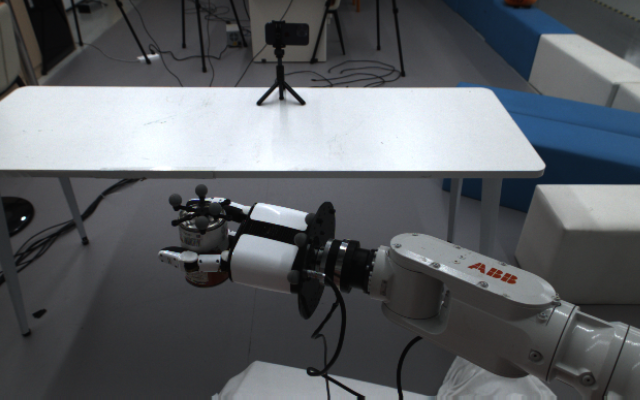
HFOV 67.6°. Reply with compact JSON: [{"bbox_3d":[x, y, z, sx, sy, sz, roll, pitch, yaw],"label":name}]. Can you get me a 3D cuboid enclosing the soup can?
[{"bbox_3d":[-0.161,0.065,0.682,0.067,0.101,0.067,2,32,-1],"label":"soup can"}]
